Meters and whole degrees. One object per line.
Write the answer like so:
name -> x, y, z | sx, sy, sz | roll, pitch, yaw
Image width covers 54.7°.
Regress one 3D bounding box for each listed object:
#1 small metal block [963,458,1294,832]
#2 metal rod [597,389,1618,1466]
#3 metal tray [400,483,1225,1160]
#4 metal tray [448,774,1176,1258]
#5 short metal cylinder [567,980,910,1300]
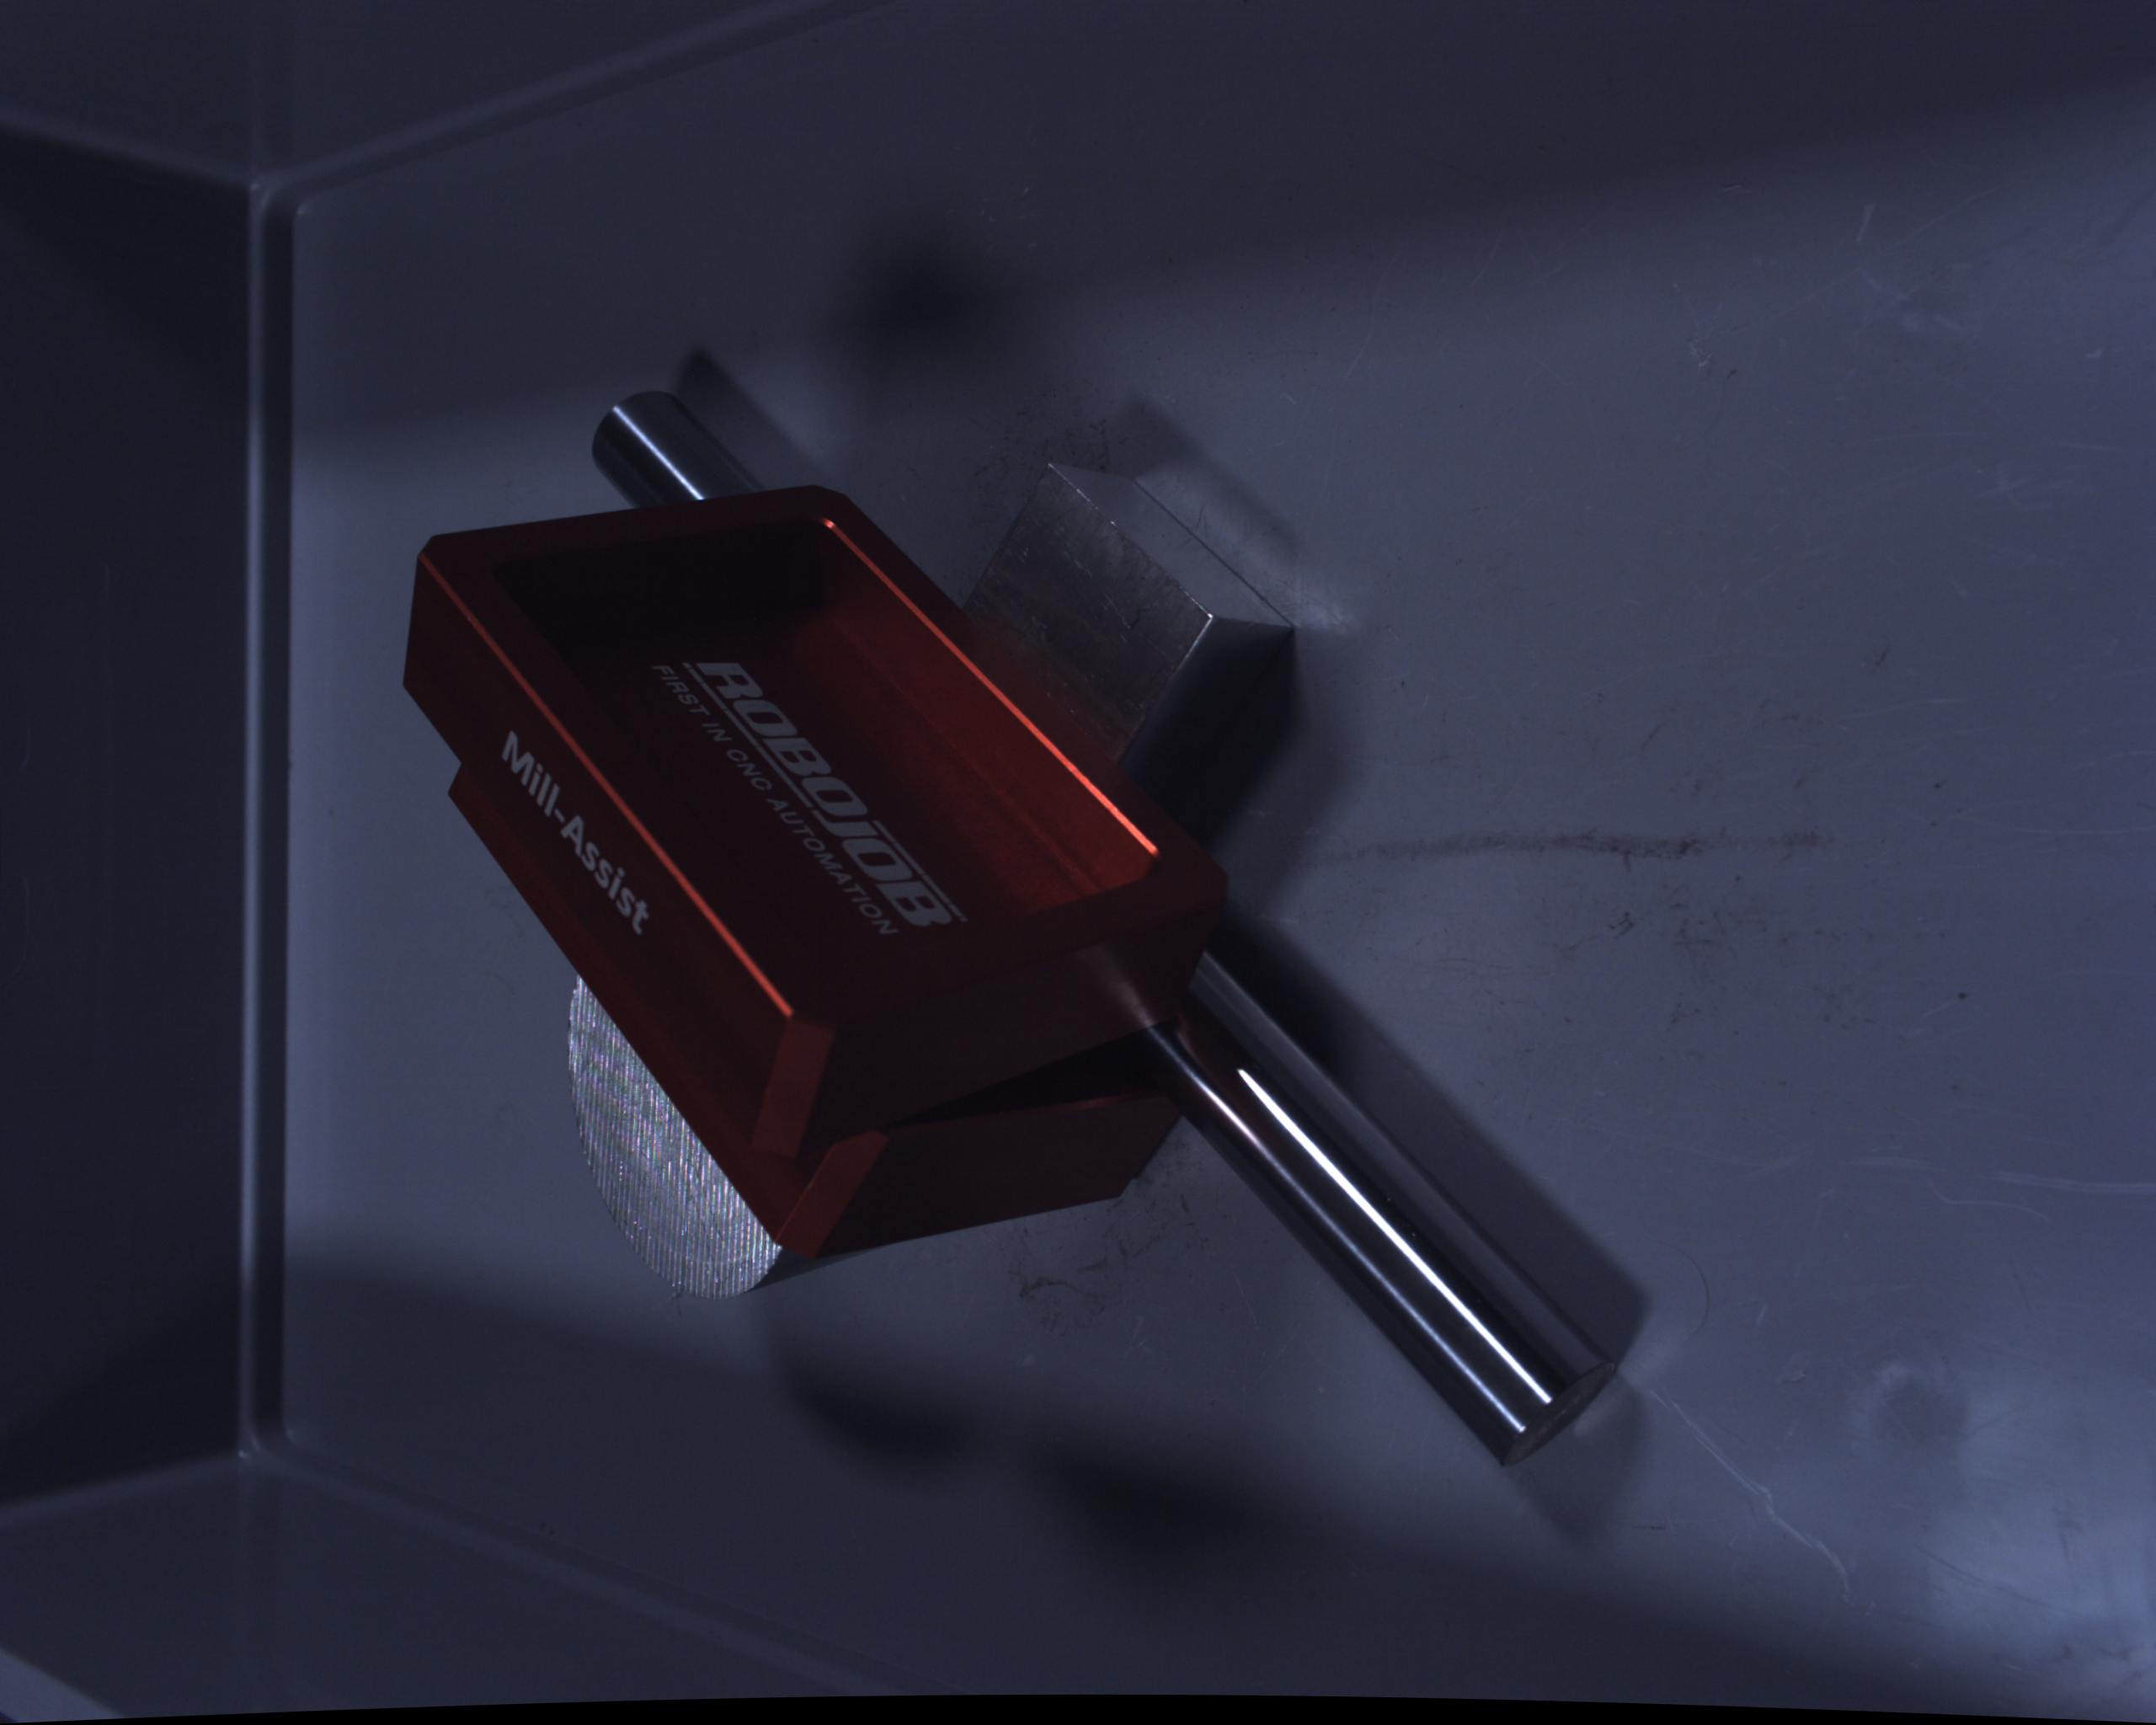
small metal block -> 0.005, -0.041, 0.399 | 0.050, 0.025, 0.050 | 48, 118, 29
metal rod -> -0.011, -0.005, 0.414 | 0.300, 0.025, 0.025 | 46, 118, 29
metal tray -> -0.049, -0.015, 0.368 | 0.130, 0.091, 0.030 | 47, 135, 29
metal tray -> -0.050, 0.013, 0.401 | 0.130, 0.091, 0.030 | 47, 118, 29
short metal cylinder -> -0.061, 0.044, 0.430 | 0.080, 0.050, 0.079 | 10, 104, 44
